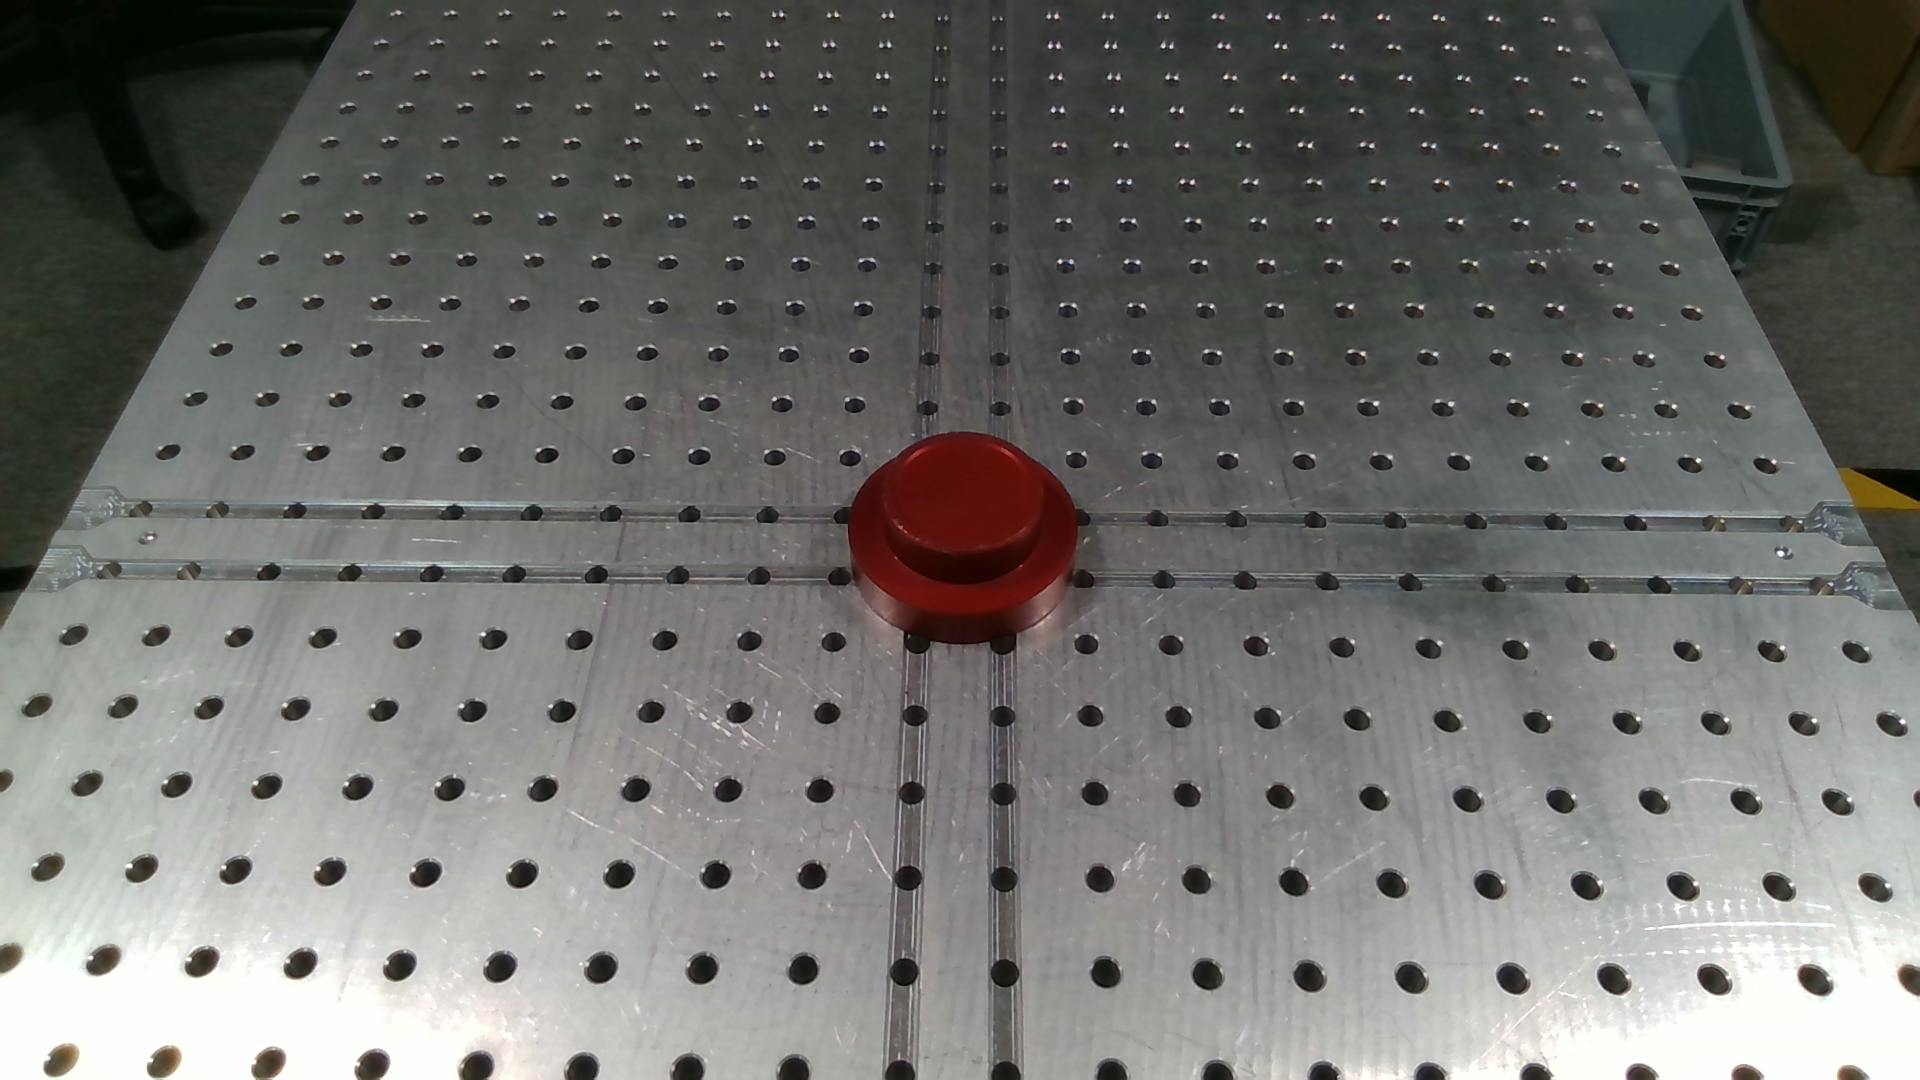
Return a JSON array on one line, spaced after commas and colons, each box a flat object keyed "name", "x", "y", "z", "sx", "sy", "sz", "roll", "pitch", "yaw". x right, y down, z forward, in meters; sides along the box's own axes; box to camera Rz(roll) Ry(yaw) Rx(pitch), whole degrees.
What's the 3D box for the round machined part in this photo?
[{"name": "round machined part", "x": 0.001, "y": -0.008, "z": 0.586, "sx": 0.098, "sy": 0.042, "sz": 0.098, "roll": 0, "pitch": 50, "yaw": 0}]
